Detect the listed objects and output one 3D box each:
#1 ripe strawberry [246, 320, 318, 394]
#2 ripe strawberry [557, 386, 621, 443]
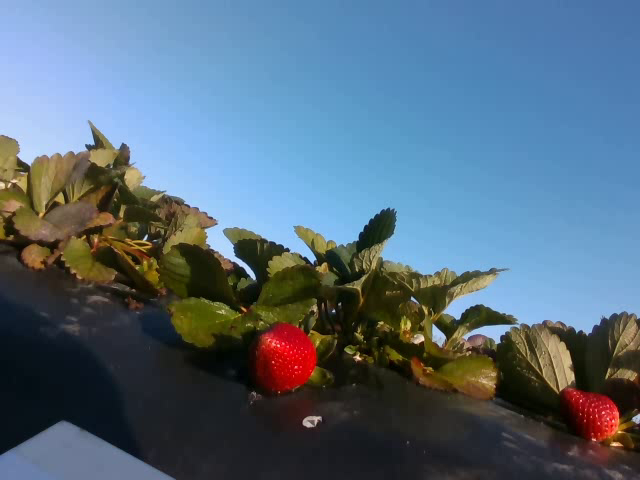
[{"bbox_3d":[-0.022,0.059,0.322,0.045,0.042,0.055,28,-14,22],"label":"ripe strawberry"},{"bbox_3d":[0.158,0.101,0.365,0.046,0.036,0.034,31,16,13],"label":"ripe strawberry"}]
